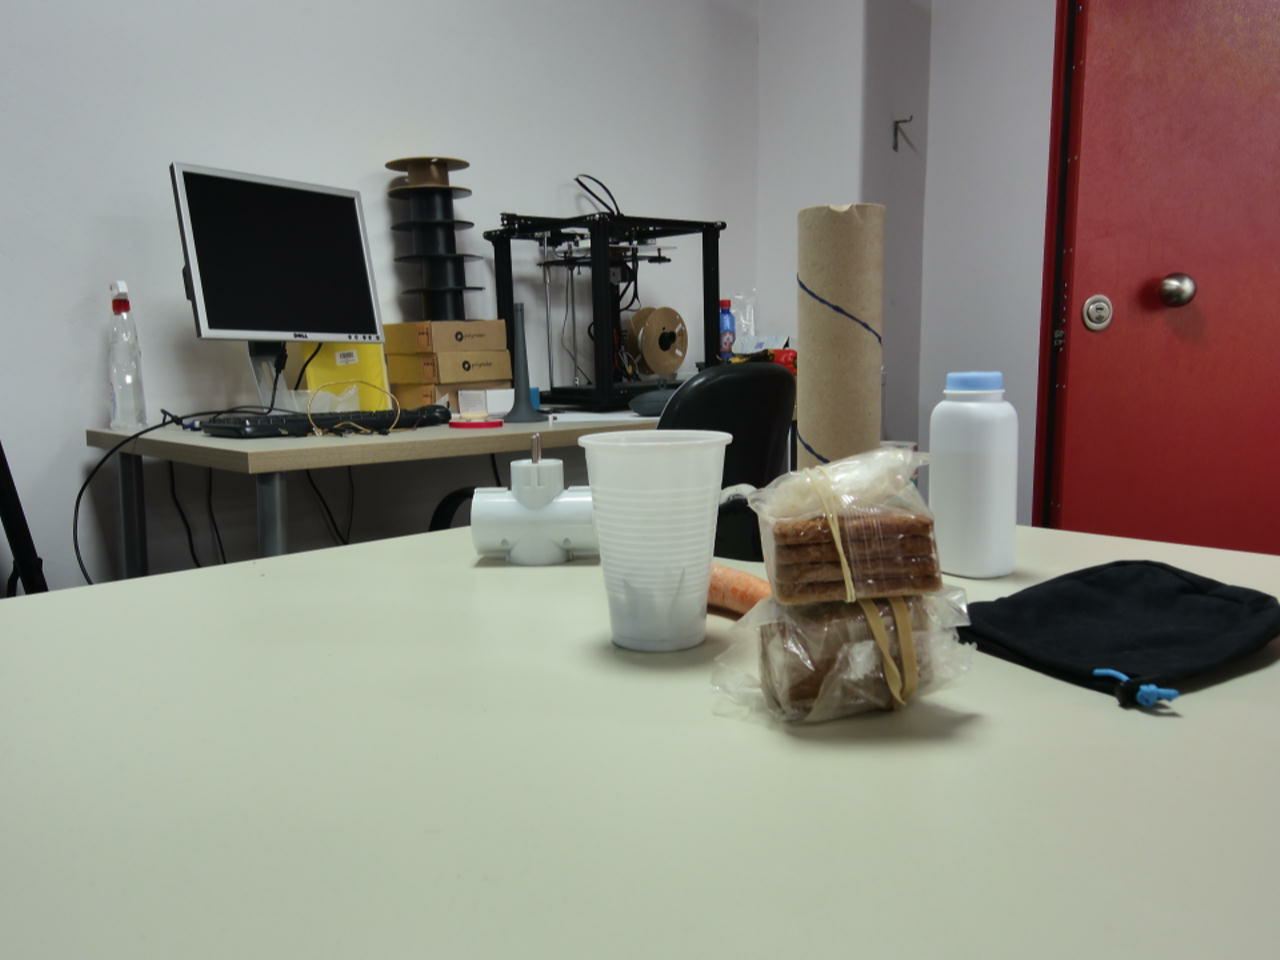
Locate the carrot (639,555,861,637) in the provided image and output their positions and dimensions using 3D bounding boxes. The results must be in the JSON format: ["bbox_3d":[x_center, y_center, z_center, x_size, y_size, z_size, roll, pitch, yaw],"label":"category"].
[{"bbox_3d":[0.057,0.064,0.565,0.031,0.029,0.163,-4,8,-43],"label":"carrot"}]
